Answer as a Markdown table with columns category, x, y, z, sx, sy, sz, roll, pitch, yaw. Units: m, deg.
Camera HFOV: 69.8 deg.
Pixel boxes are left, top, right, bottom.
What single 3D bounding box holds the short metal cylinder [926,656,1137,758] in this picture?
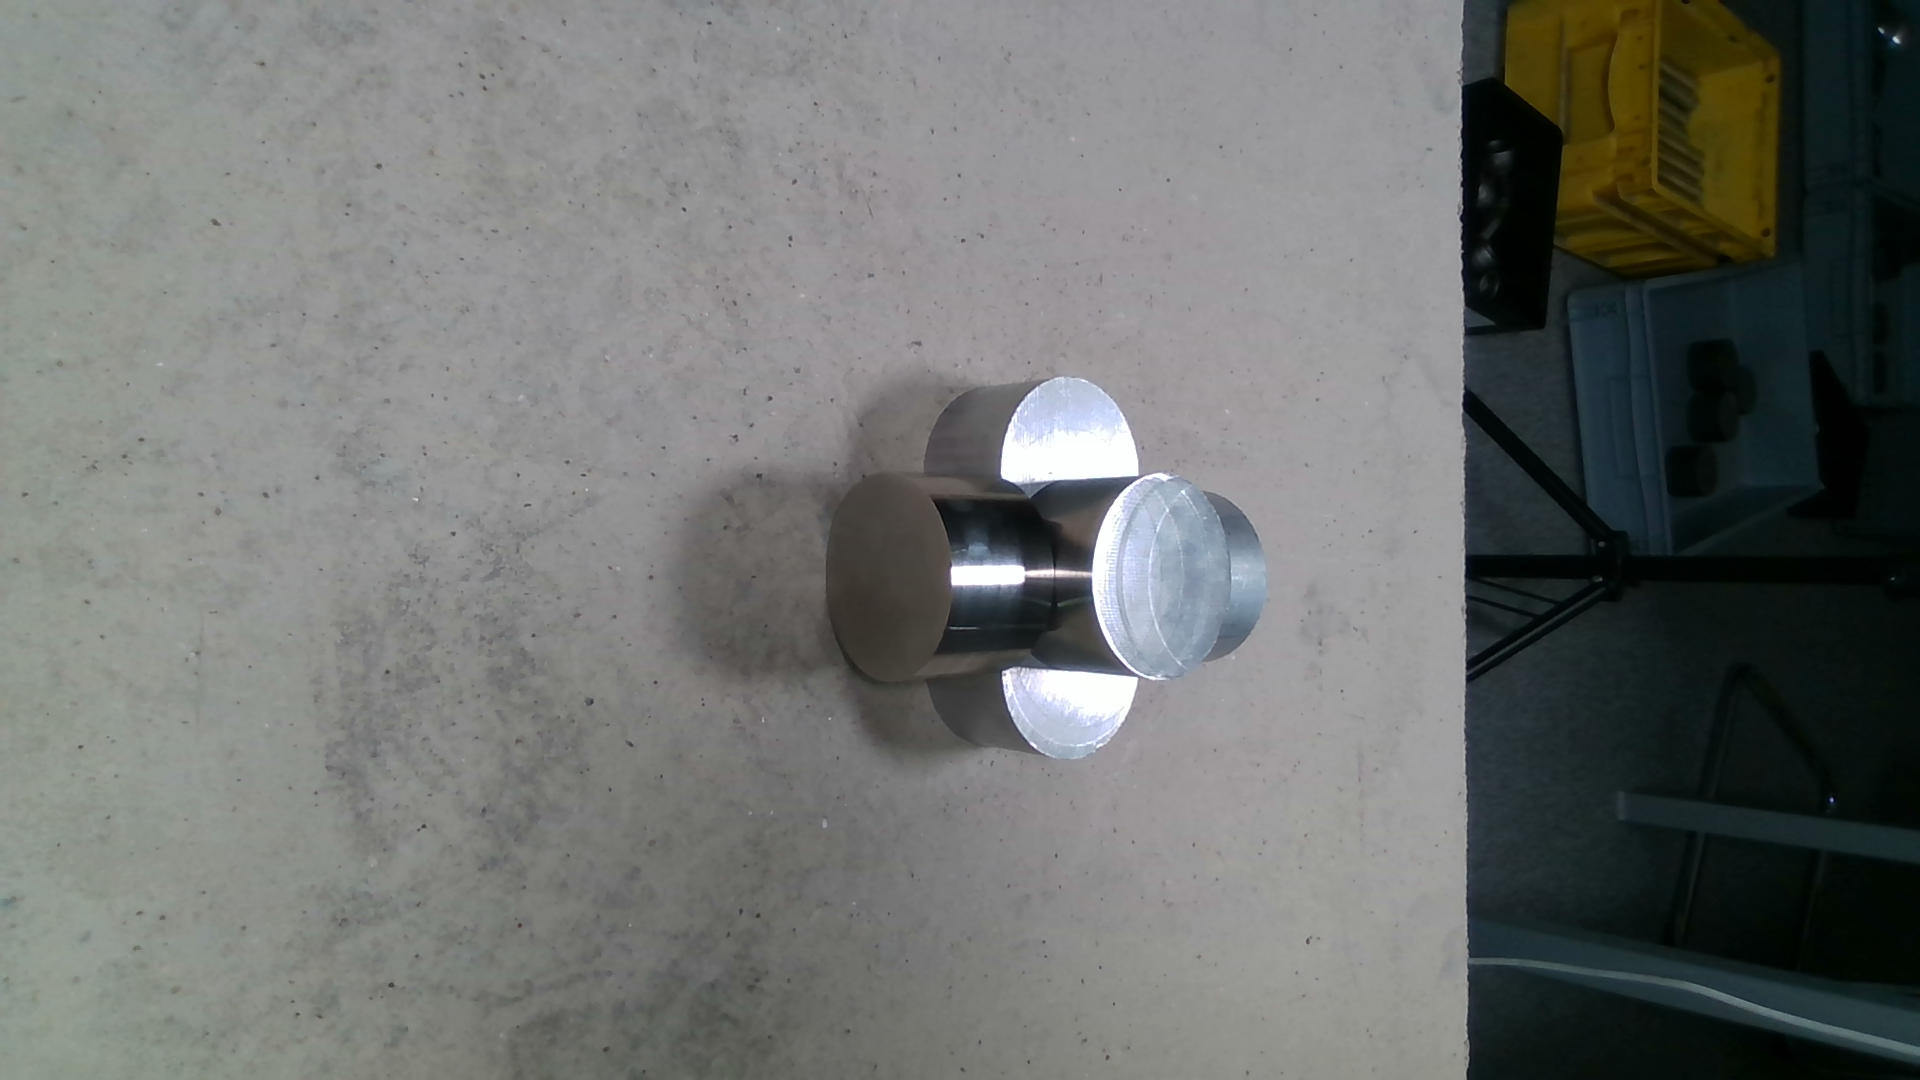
| category | x | y | z | sx | sy | sz | roll | pitch | yaw |
| --- | --- | --- | --- | --- | --- | --- | --- | --- | --- |
| short metal cylinder | 0.032 | 0.051 | 0.594 | 0.080 | 0.050 | 0.080 | 0 | 90 | -40 |

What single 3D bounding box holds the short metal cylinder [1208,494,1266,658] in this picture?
| category | x | y | z | sx | sy | sz | roll | pitch | yaw |
| --- | --- | --- | --- | --- | --- | --- | --- | --- | --- |
| short metal cylinder | 0.091 | 0.017 | 0.624 | 0.050 | 0.080 | 0.080 | -1 | 90 | -40 |

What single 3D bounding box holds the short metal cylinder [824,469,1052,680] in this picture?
| category | x | y | z | sx | sy | sz | roll | pitch | yaw |
| --- | --- | --- | --- | --- | --- | --- | --- | --- | --- |
| short metal cylinder | -0.010 | 0.013 | 0.540 | 0.050 | 0.080 | 0.080 | 0 | 90 | -40 |

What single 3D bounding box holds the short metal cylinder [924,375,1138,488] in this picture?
| category | x | y | z | sx | sy | sz | roll | pitch | yaw |
| --- | --- | --- | --- | --- | --- | --- | --- | --- | --- |
| short metal cylinder | 0.031 | -0.029 | 0.593 | 0.080 | 0.050 | 0.080 | 0 | 90 | -40 |

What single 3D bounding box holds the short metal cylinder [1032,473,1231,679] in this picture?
| category | x | y | z | sx | sy | sz | roll | pitch | yaw |
| --- | --- | --- | --- | --- | --- | --- | --- | --- | --- |
| short metal cylinder | 0.064 | 0.014 | 0.555 | 0.080 | 0.050 | 0.080 | 0 | 90 | -40 |
